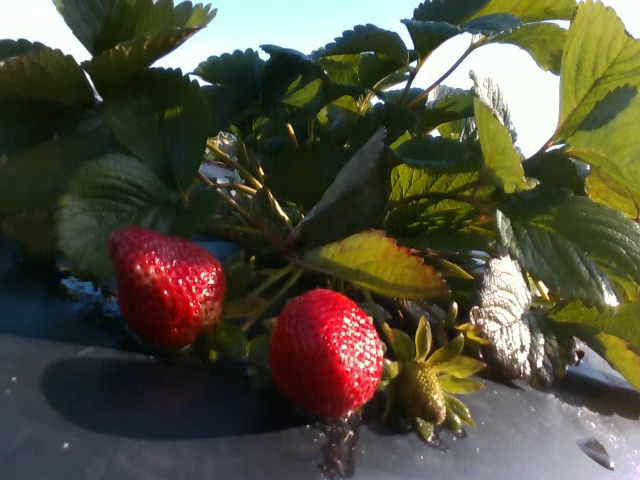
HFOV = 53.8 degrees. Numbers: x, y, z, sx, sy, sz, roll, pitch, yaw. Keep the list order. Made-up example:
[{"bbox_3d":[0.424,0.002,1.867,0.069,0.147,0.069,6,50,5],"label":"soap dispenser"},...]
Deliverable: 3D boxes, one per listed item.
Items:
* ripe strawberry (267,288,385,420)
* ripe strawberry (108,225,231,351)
[{"bbox_3d":[0.004,0.032,0.189,0.043,0.039,0.053,33,-8,-3],"label":"ripe strawberry"},{"bbox_3d":[-0.055,0.015,0.222,0.039,0.048,0.054,-34,-51,18],"label":"ripe strawberry"}]
